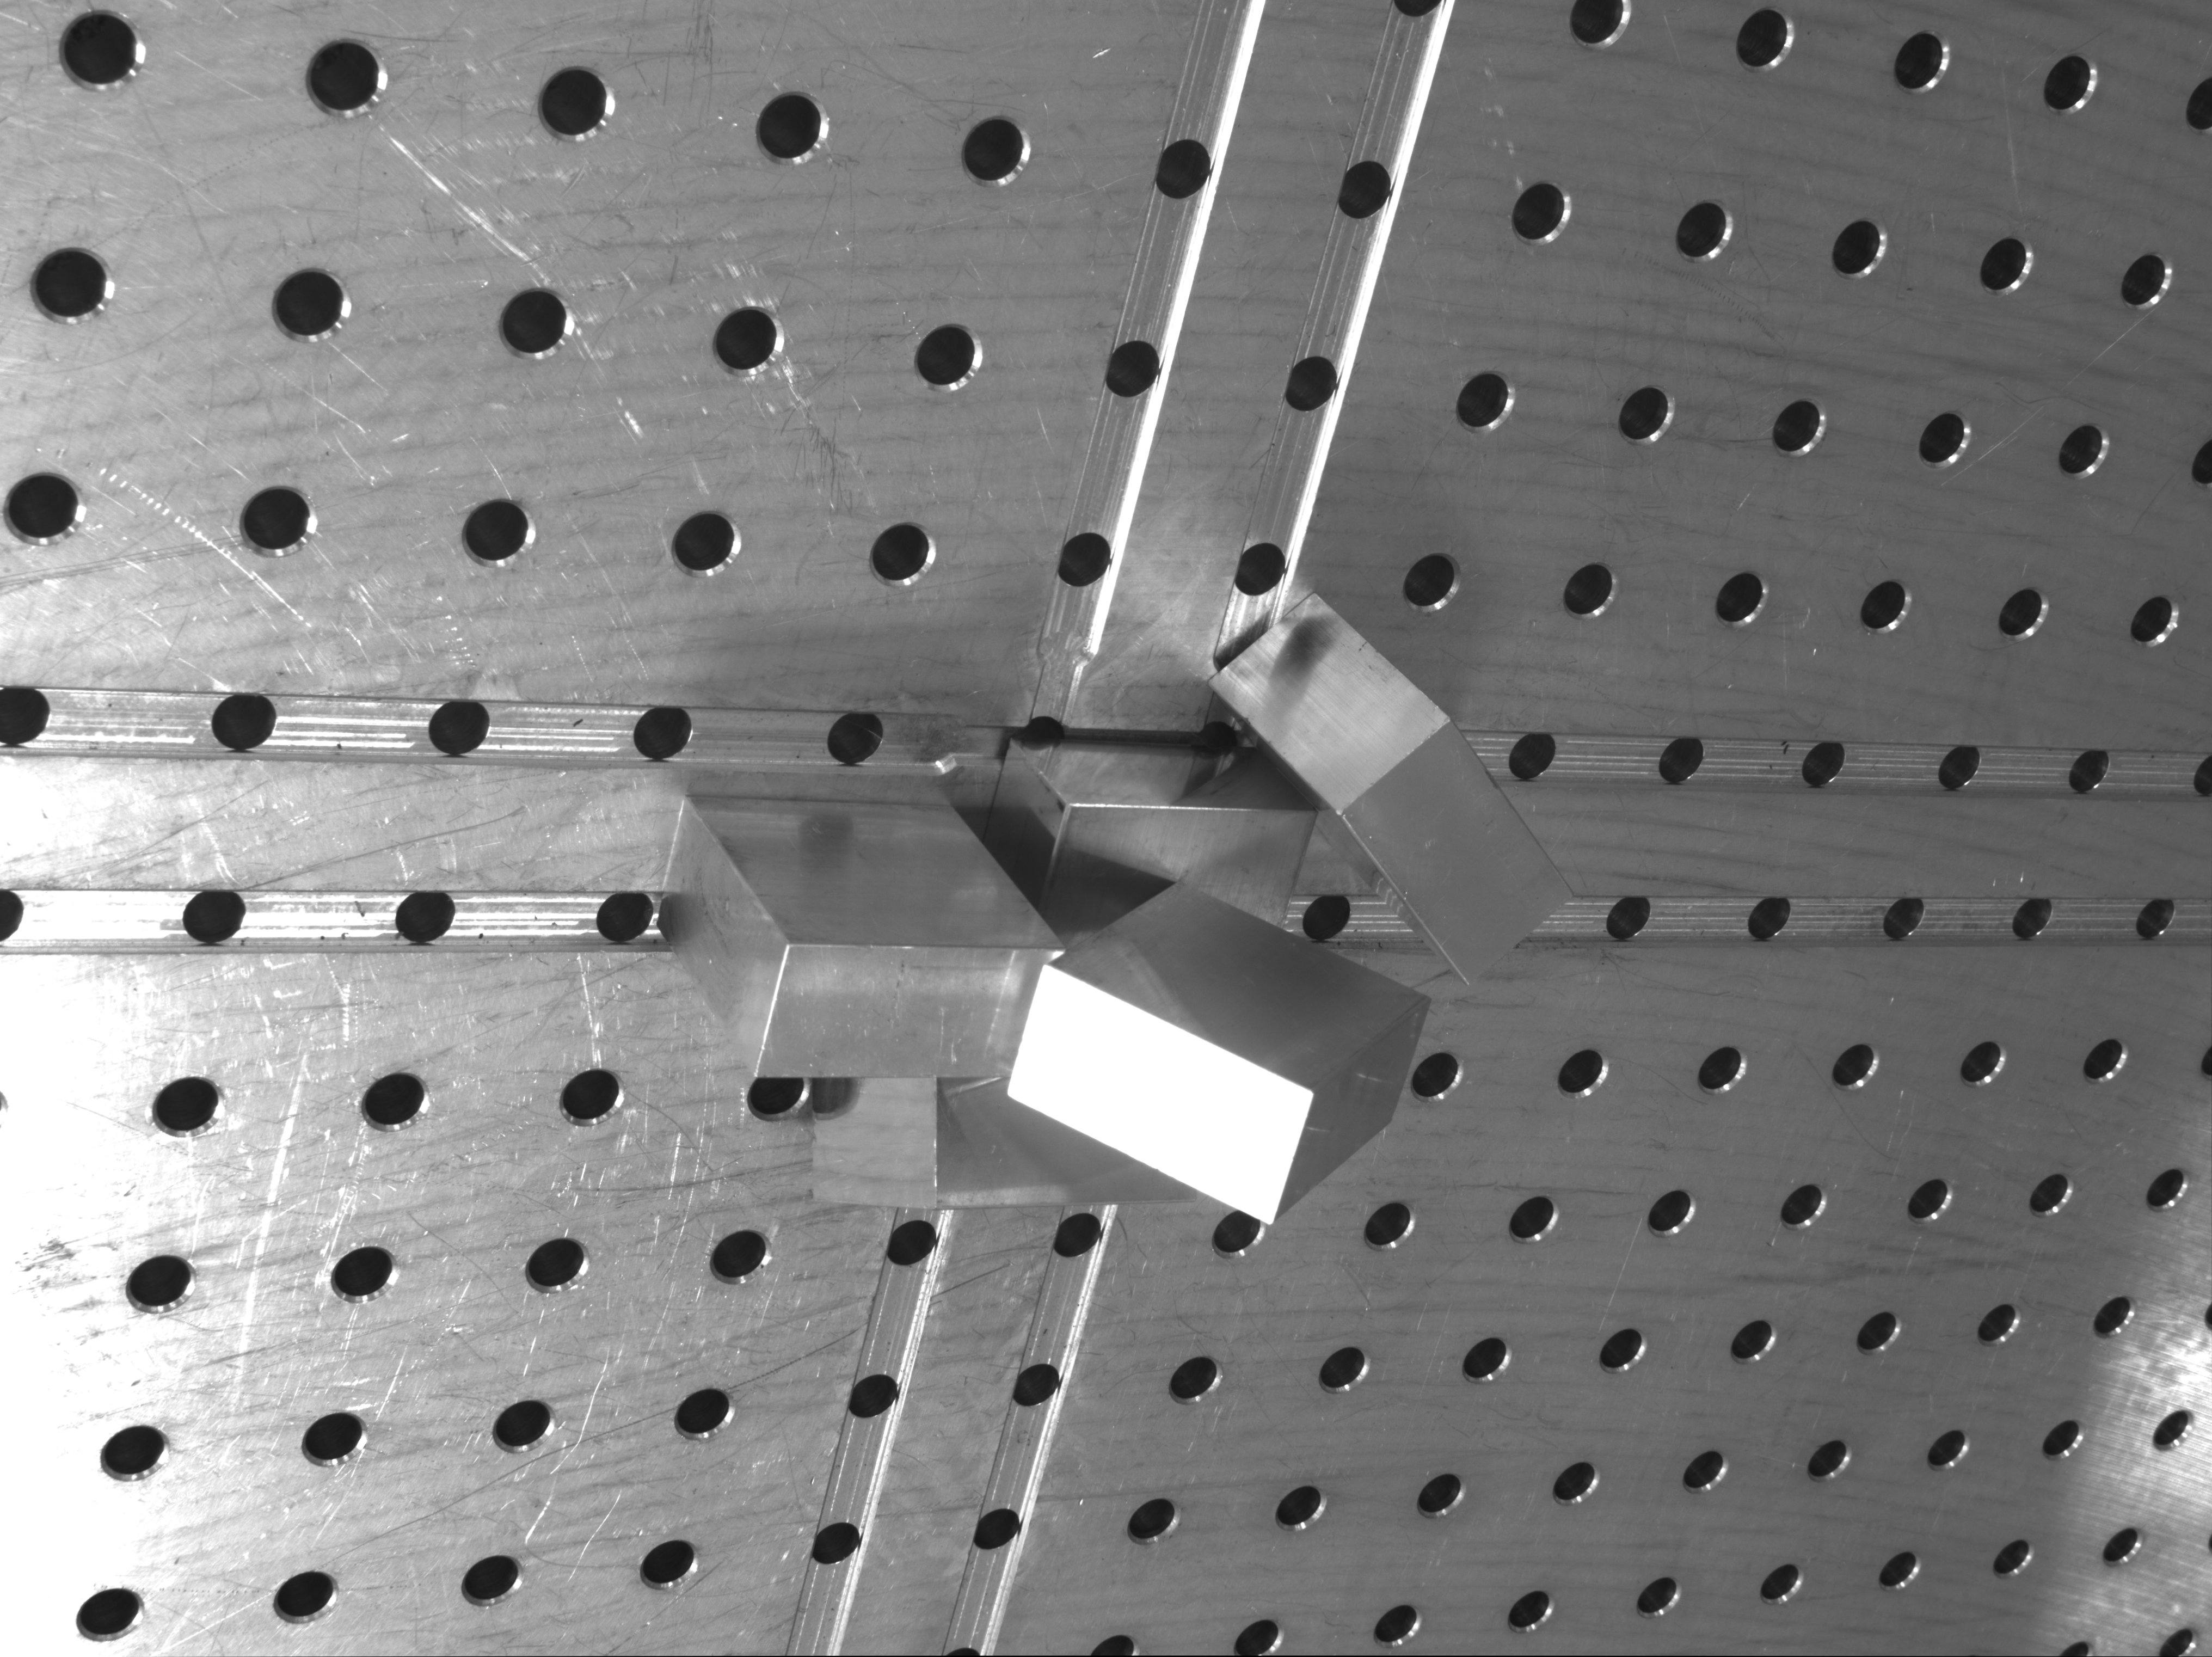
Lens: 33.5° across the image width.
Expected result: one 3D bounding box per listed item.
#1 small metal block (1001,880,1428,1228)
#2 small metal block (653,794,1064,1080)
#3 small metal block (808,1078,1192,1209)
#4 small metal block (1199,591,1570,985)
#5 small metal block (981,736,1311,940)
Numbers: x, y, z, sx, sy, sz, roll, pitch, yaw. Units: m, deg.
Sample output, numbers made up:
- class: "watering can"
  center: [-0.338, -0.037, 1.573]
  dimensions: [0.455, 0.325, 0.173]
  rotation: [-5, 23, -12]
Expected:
- class: "small metal block"
  center: [0.019, 0.036, 0.612]
  dimensions: [0.050, 0.050, 0.025]
  rotation: [-30, 141, -59]
- class: "small metal block"
  center: [-0.042, 0.018, 0.612]
  dimensions: [0.050, 0.050, 0.025]
  rotation: [2, 118, -28]
- class: "small metal block"
  center: [-0.019, 0.053, 0.643]
  dimensions: [0.050, 0.050, 0.025]
  rotation: [1, 86, -29]
- class: "small metal block"
  center: [0.049, -0.007, 0.647]
  dimensions: [0.025, 0.050, 0.050]
  rotation: [-41, 129, -1]
- class: "small metal block"
  center: [0.003, 0.012, 0.650]
  dimensions: [0.050, 0.025, 0.050]
  rotation: [1, 118, -30]
